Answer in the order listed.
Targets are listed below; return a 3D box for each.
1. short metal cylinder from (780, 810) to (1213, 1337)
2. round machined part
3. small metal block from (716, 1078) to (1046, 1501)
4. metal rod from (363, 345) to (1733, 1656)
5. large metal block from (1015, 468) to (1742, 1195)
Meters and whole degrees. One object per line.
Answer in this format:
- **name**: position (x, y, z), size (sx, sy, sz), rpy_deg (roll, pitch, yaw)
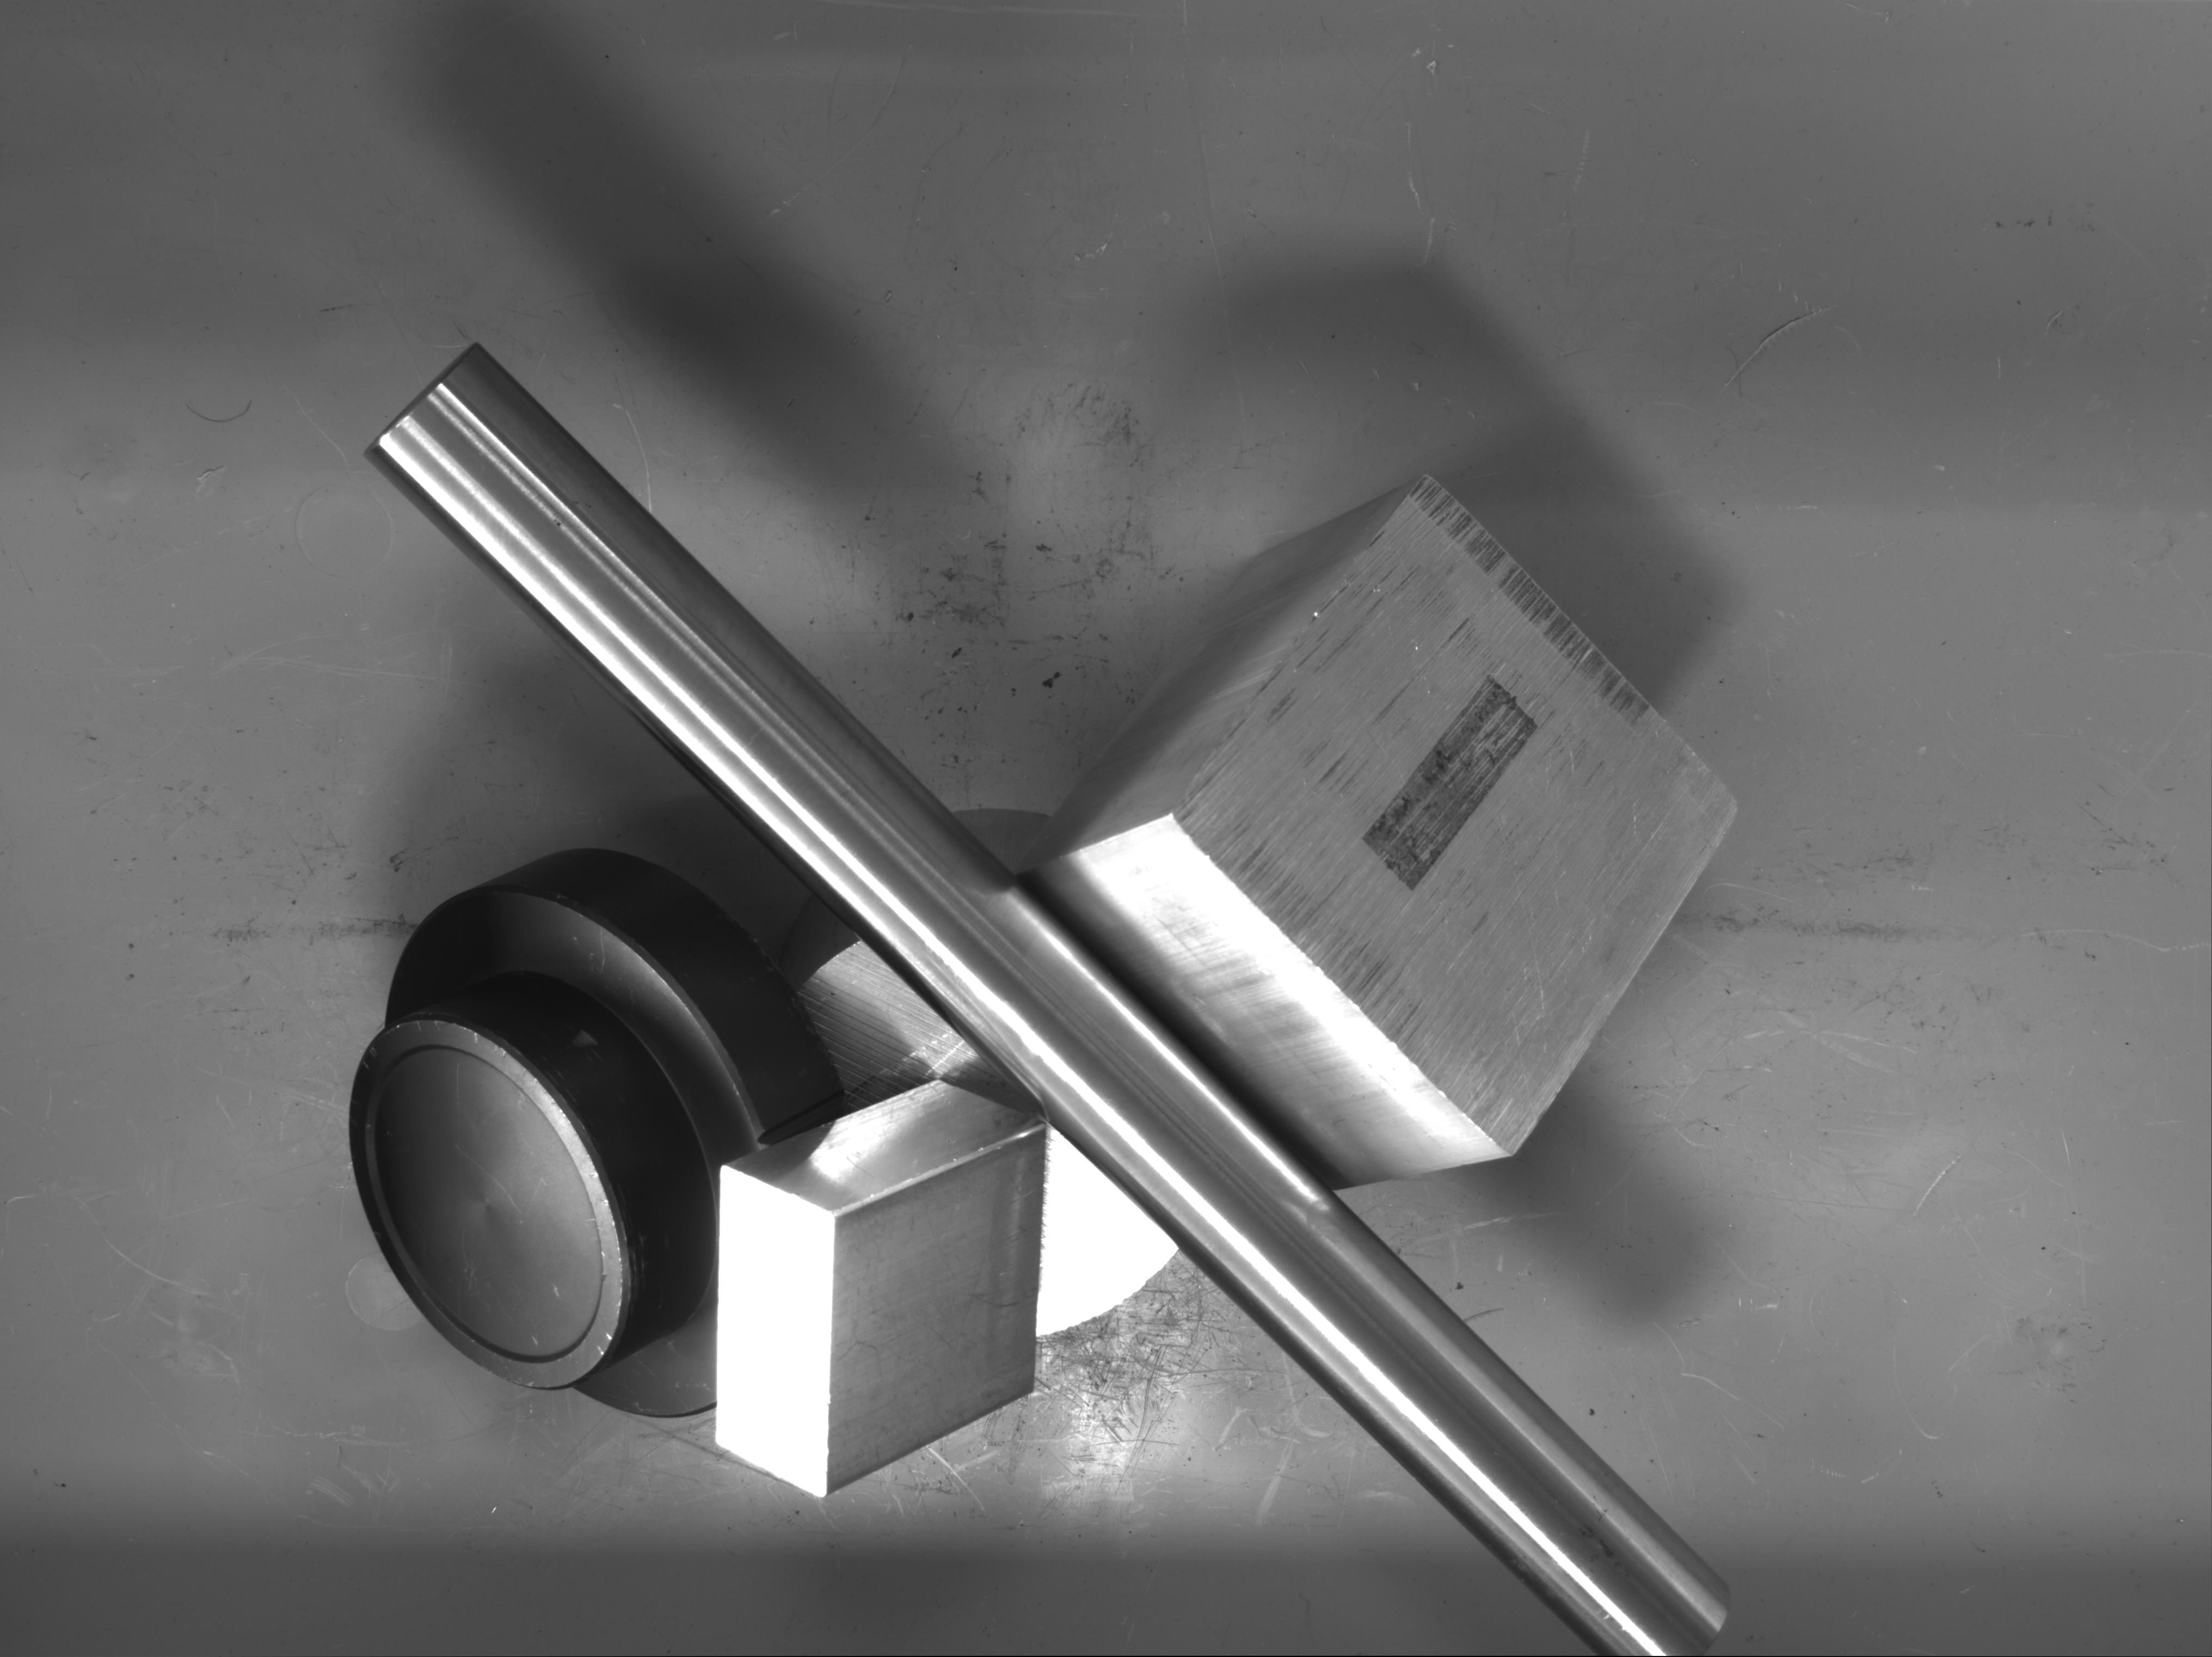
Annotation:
- **short metal cylinder**: position (-0.021, 0.043, 0.645), size (0.080, 0.050, 0.080), rpy_deg (0, 110, 0)
- **round machined part**: position (-0.091, 0.057, 0.627), size (0.098, 0.042, 0.098), rpy_deg (18, 120, 34)
- **small metal block**: position (-0.037, 0.074, 0.601), size (0.025, 0.050, 0.050), rpy_deg (19, 115, 37)
- **metal rod**: position (-0.003, 0.037, 0.603), size (0.025, 0.025, 0.300), rpy_deg (-41, 105, 14)
- **large metal block**: position (0.045, 0.002, 0.607), size (0.080, 0.050, 0.080), rpy_deg (44, 61, -14)
